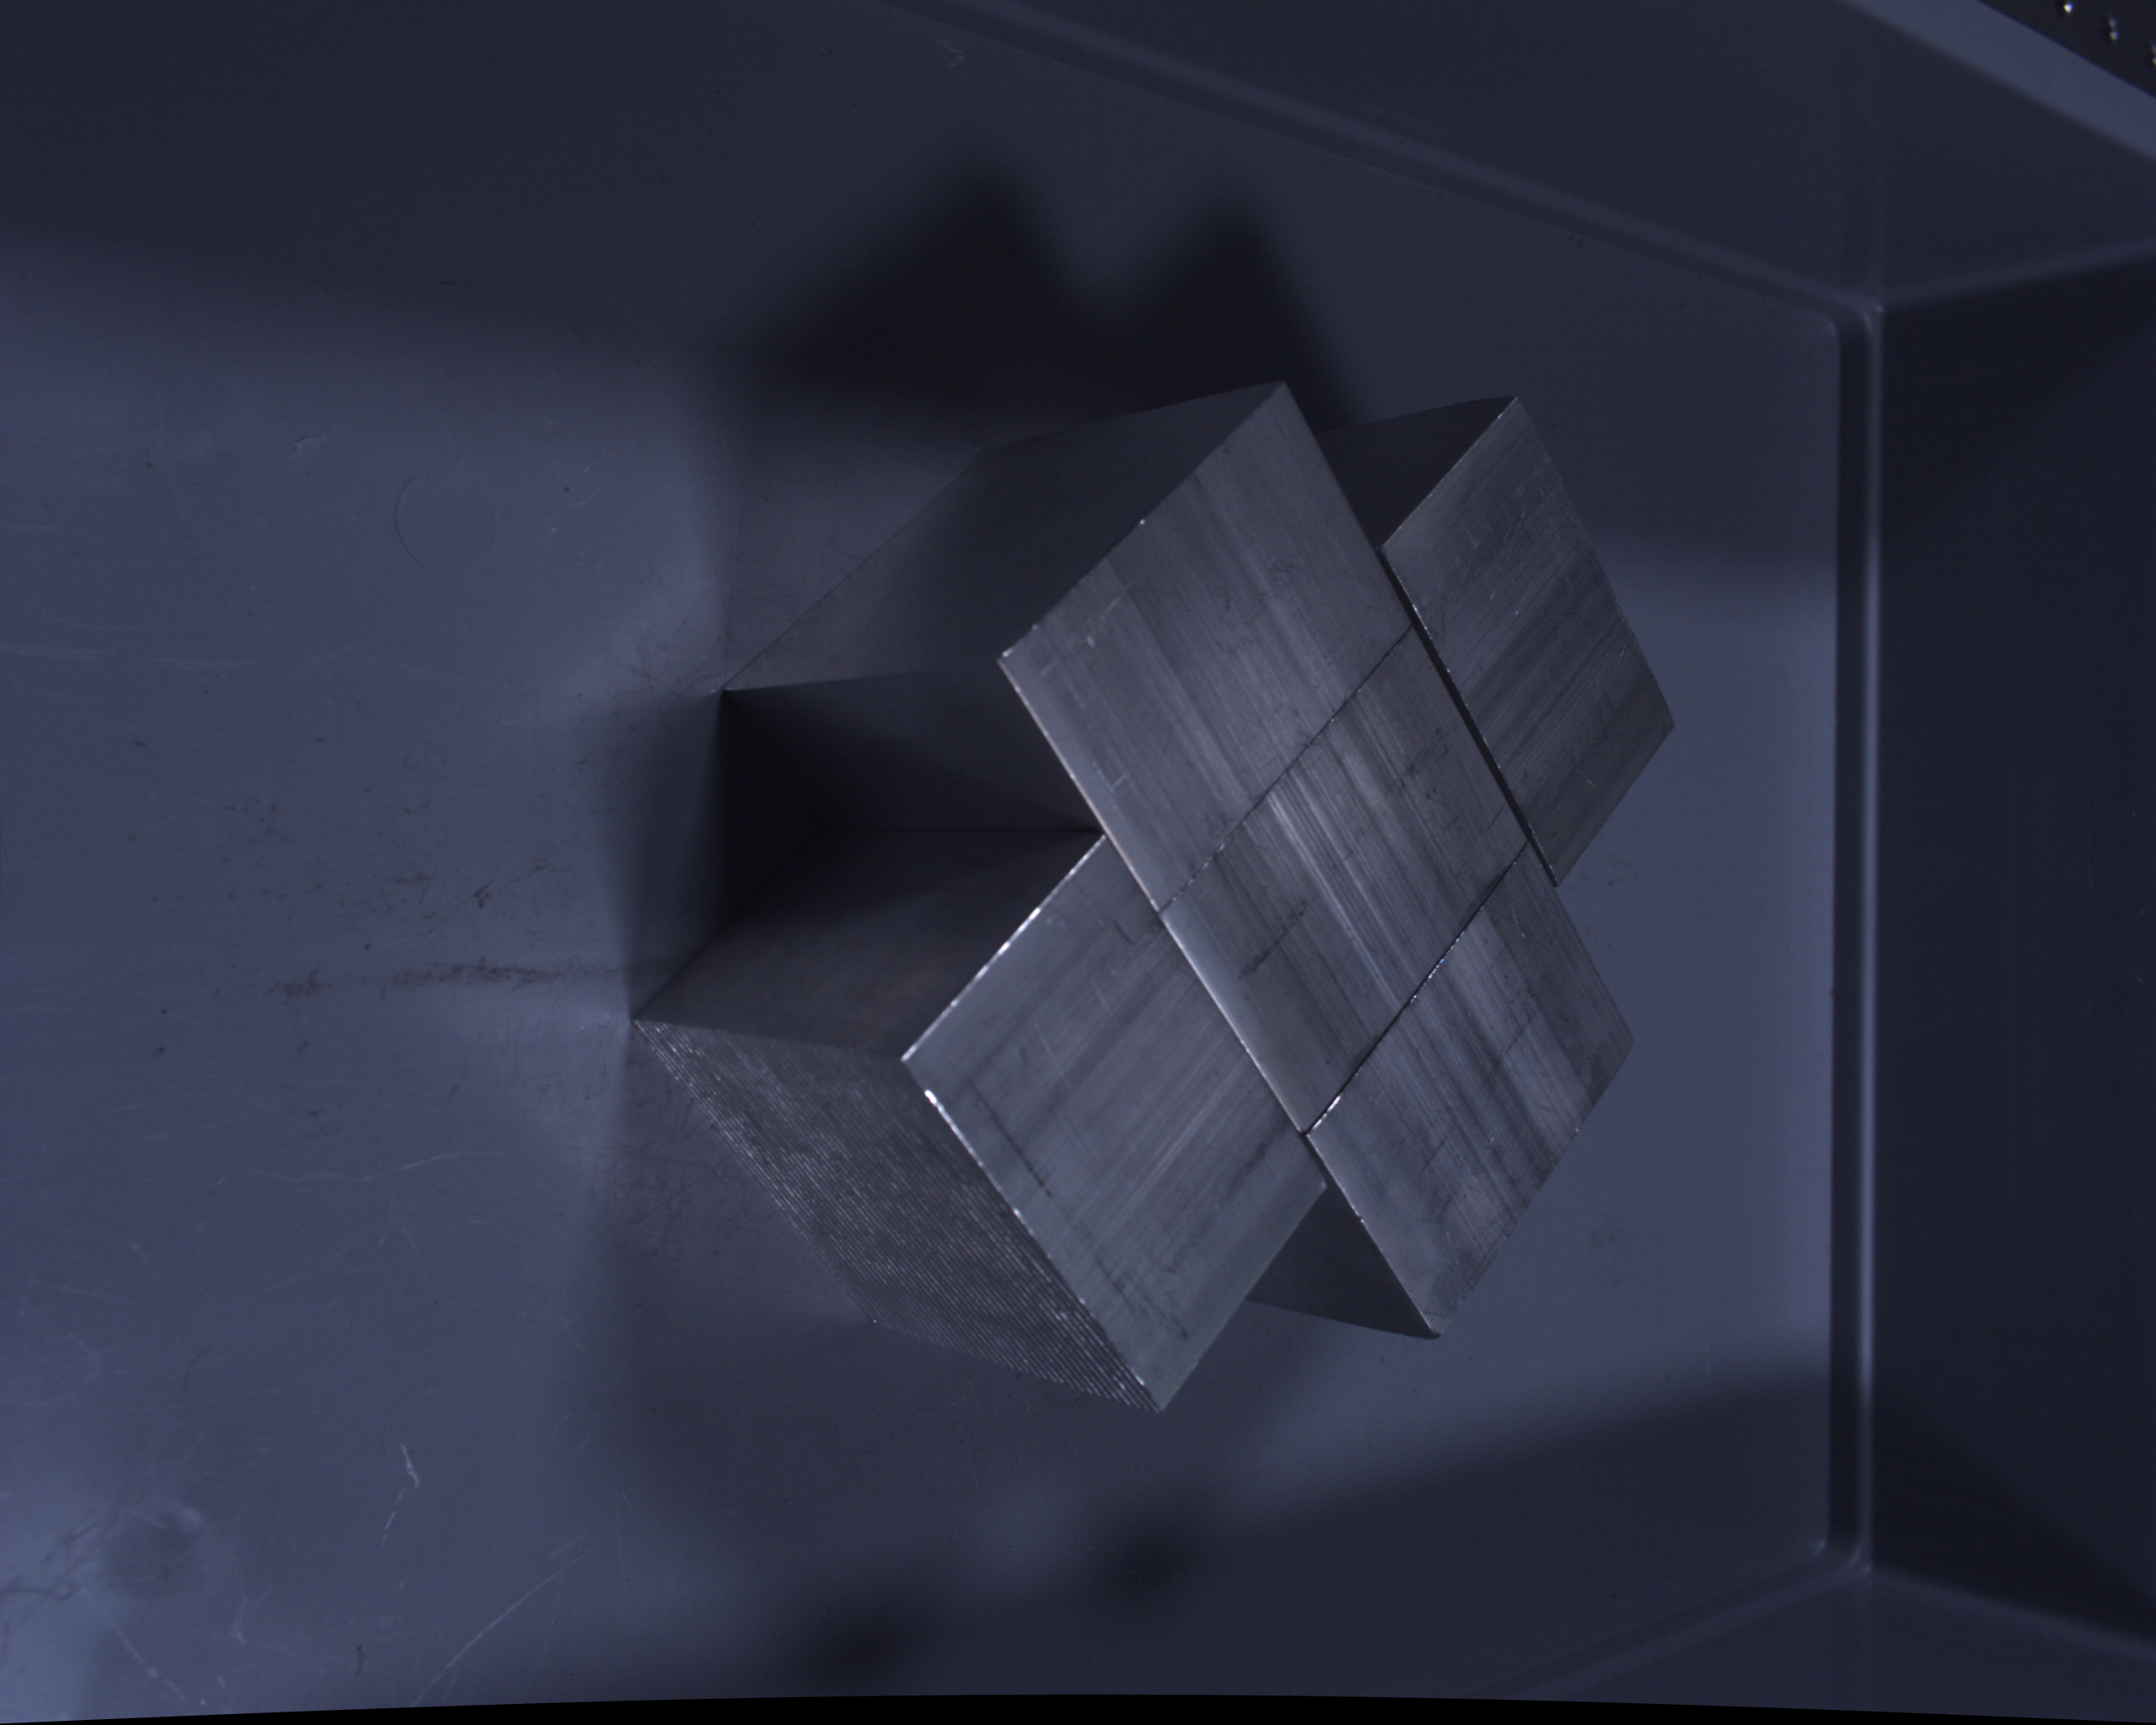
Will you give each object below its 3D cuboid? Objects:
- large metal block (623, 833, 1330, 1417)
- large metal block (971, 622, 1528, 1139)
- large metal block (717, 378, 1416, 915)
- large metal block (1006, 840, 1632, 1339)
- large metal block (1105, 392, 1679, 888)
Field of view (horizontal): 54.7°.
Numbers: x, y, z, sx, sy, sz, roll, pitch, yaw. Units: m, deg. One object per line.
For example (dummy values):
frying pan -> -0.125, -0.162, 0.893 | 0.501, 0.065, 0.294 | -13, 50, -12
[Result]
large metal block -> -0.018, 0.041, 0.357 | 0.050, 0.080, 0.080 | -49, 119, -29
large metal block -> 0.022, 0.002, 0.391 | 0.080, 0.080, 0.050 | -48, 119, -30
large metal block -> -0.002, -0.037, 0.369 | 0.080, 0.080, 0.050 | -48, 119, -30
large metal block -> 0.048, 0.040, 0.412 | 0.080, 0.080, 0.050 | -48, 119, -30
large metal block -> 0.061, -0.042, 0.423 | 0.050, 0.080, 0.080 | -49, 119, -29
